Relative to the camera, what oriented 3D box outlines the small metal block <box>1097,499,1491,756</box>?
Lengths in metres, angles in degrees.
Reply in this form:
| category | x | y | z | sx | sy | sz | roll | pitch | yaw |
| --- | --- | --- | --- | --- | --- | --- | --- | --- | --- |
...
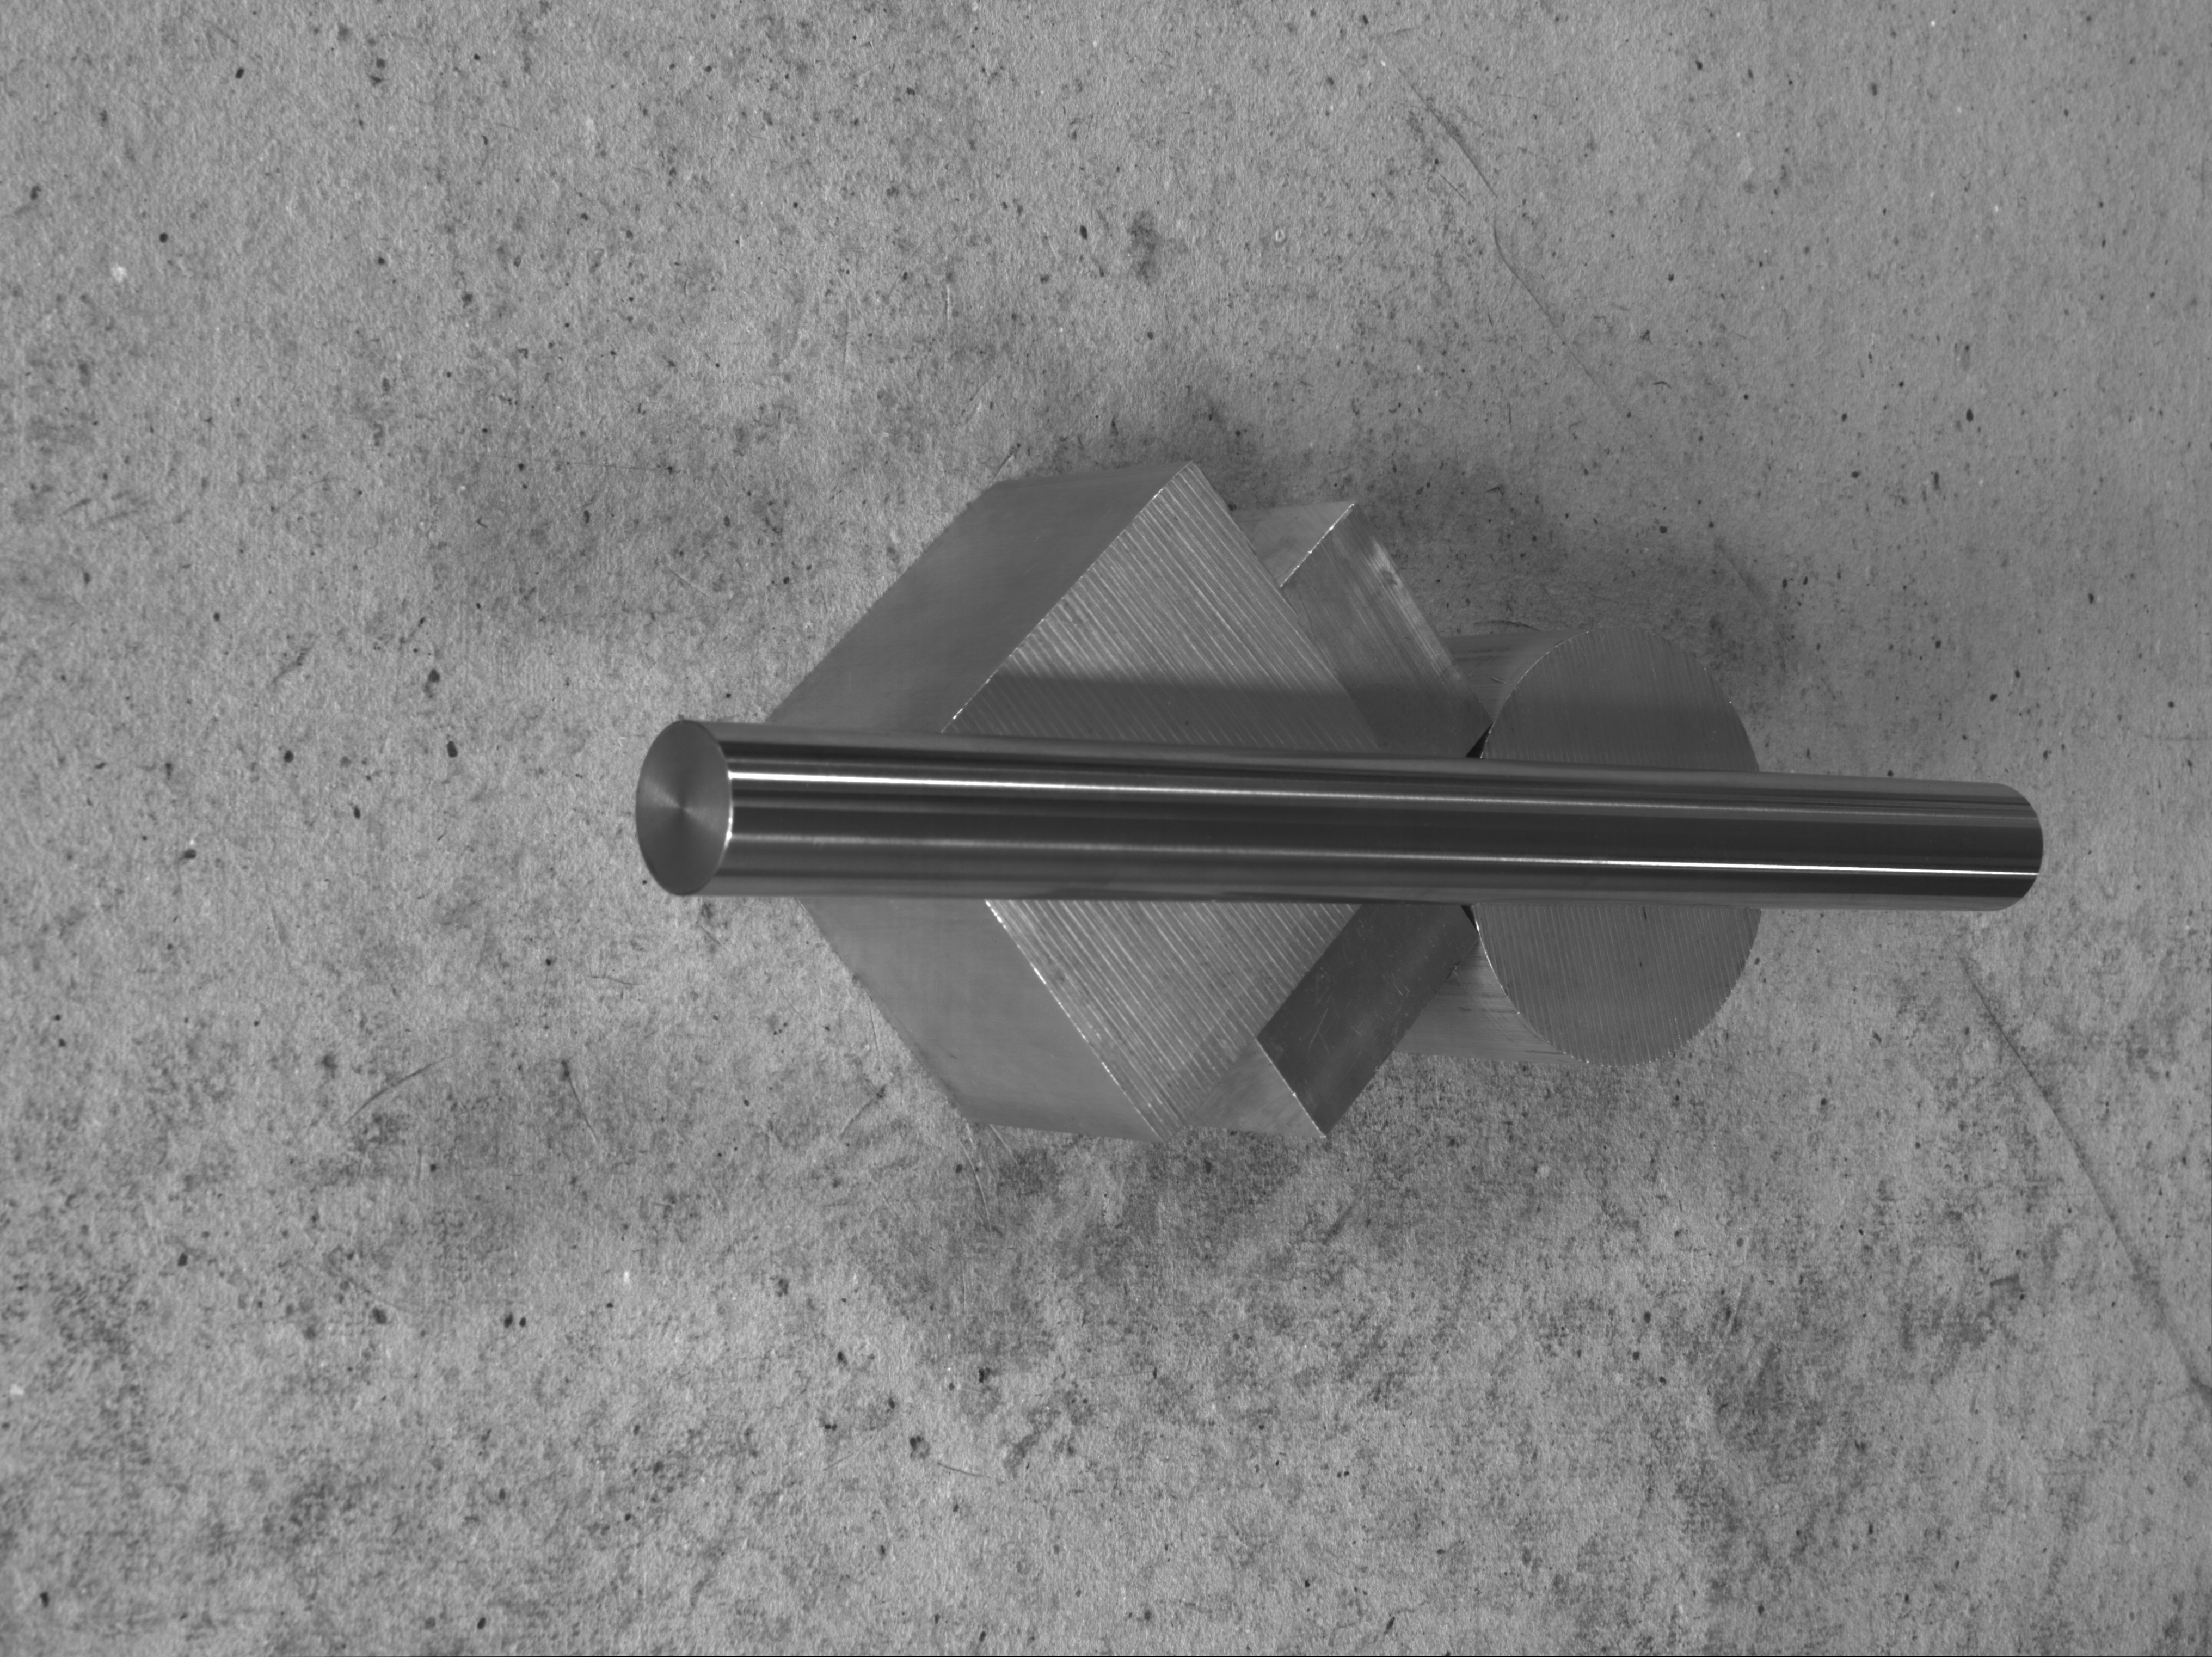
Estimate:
| category | x | y | z | sx | sy | sz | roll | pitch | yaw |
| --- | --- | --- | --- | --- | --- | --- | --- | --- | --- |
| small metal block | 0.032 | -0.029 | 0.647 | 0.025 | 0.050 | 0.050 | -50 | 119 | -28 |

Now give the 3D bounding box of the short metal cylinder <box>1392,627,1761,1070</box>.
| category | x | y | z | sx | sy | sz | roll | pitch | yaw |
| --- | --- | --- | --- | --- | --- | --- | --- | --- | --- |
| short metal cylinder | 0.078 | 0.004 | 0.684 | 0.080 | 0.050 | 0.080 | 0 | 90 | -40 |

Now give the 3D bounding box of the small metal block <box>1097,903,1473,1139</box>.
| category | x | y | z | sx | sy | sz | roll | pitch | yaw |
| --- | --- | --- | --- | --- | --- | --- | --- | --- | --- |
| small metal block | 0.028 | 0.026 | 0.644 | 0.050 | 0.050 | 0.025 | -50 | 119 | -28 |

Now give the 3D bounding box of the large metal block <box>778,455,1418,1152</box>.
| category | x | y | z | sx | sy | sz | roll | pitch | yaw |
| --- | --- | --- | --- | --- | --- | --- | --- | --- | --- |
| large metal block | -0.005 | -0.004 | 0.615 | 0.080 | 0.050 | 0.080 | -49 | 119 | -28 |

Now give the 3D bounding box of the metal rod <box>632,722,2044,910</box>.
| category | x | y | z | sx | sy | sz | roll | pitch | yaw |
| --- | --- | --- | --- | --- | --- | --- | --- | --- | --- |
| metal rod | 0.056 | 0.000 | 0.615 | 0.301 | 0.025 | 0.025 | 2 | 89 | -40 |
